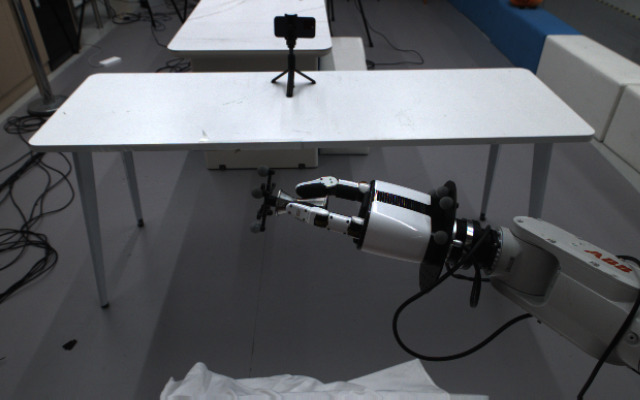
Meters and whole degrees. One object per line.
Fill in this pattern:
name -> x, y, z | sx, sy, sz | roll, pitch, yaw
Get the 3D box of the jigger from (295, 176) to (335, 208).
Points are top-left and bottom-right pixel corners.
jigger -> -0.018, 0.006, 0.678 | 0.071, 0.043, 0.043 | 9, 35, 4
